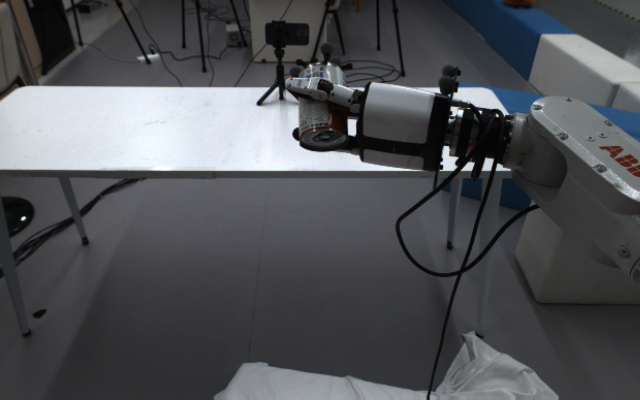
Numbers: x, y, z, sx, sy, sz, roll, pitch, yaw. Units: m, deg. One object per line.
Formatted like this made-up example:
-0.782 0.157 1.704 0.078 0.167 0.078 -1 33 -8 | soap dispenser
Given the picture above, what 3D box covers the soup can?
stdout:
0.005 -0.126 0.658 0.067 0.067 0.101 -1 71 -5 | soup can
